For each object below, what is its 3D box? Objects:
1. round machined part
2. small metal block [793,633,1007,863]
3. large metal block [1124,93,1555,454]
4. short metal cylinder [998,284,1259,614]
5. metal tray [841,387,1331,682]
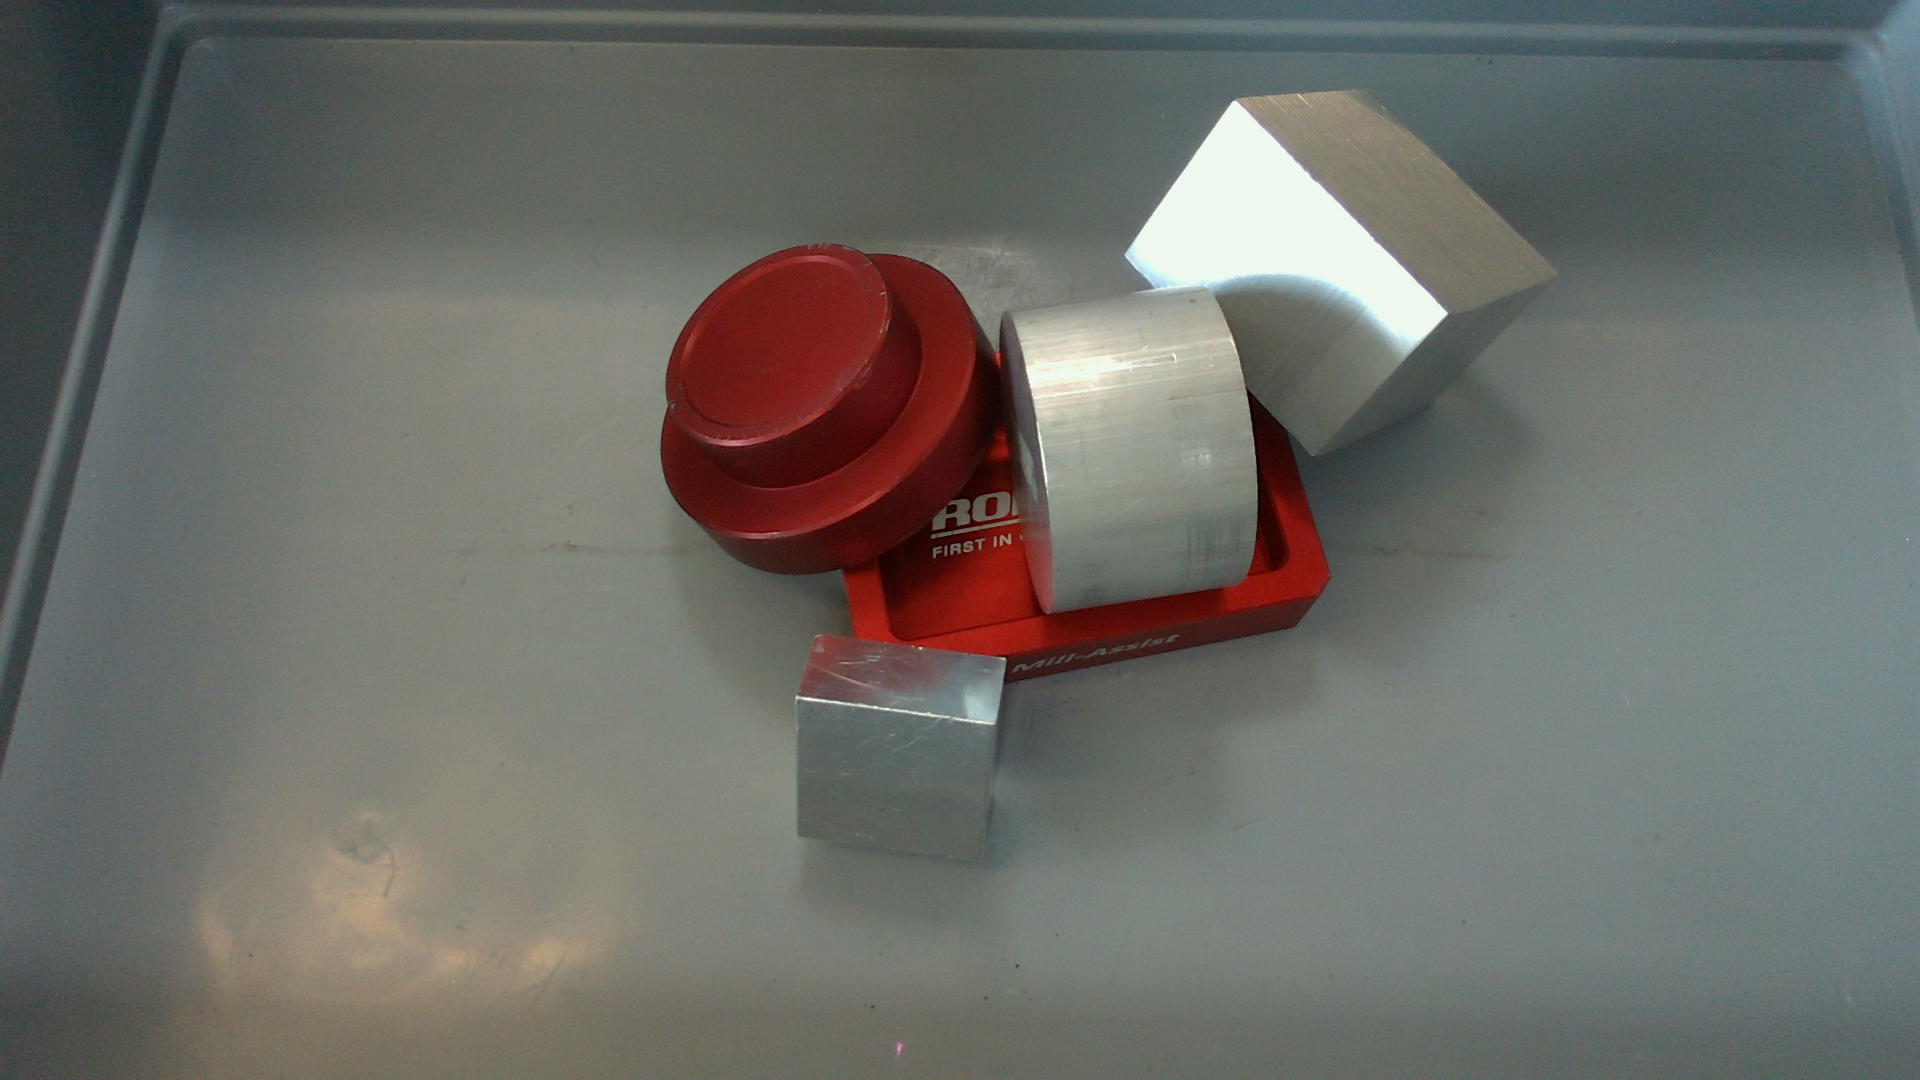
[{"bbox_3d":[-0.042,-0.043,0.380,0.098,0.042,0.098,-14,53,19],"label":"round machined part"},{"bbox_3d":[-0.016,0.054,0.358,0.050,0.050,0.025,7,36,3],"label":"small metal block"},{"bbox_3d":[0.108,-0.078,0.388,0.080,0.050,0.080,-23,67,-47],"label":"large metal block"},{"bbox_3d":[0.041,-0.024,0.360,0.050,0.080,0.080,-8,70,-4],"label":"short metal cylinder"},{"bbox_3d":[0.029,-0.010,0.396,0.130,0.030,0.090,-11,70,-4],"label":"metal tray"}]
